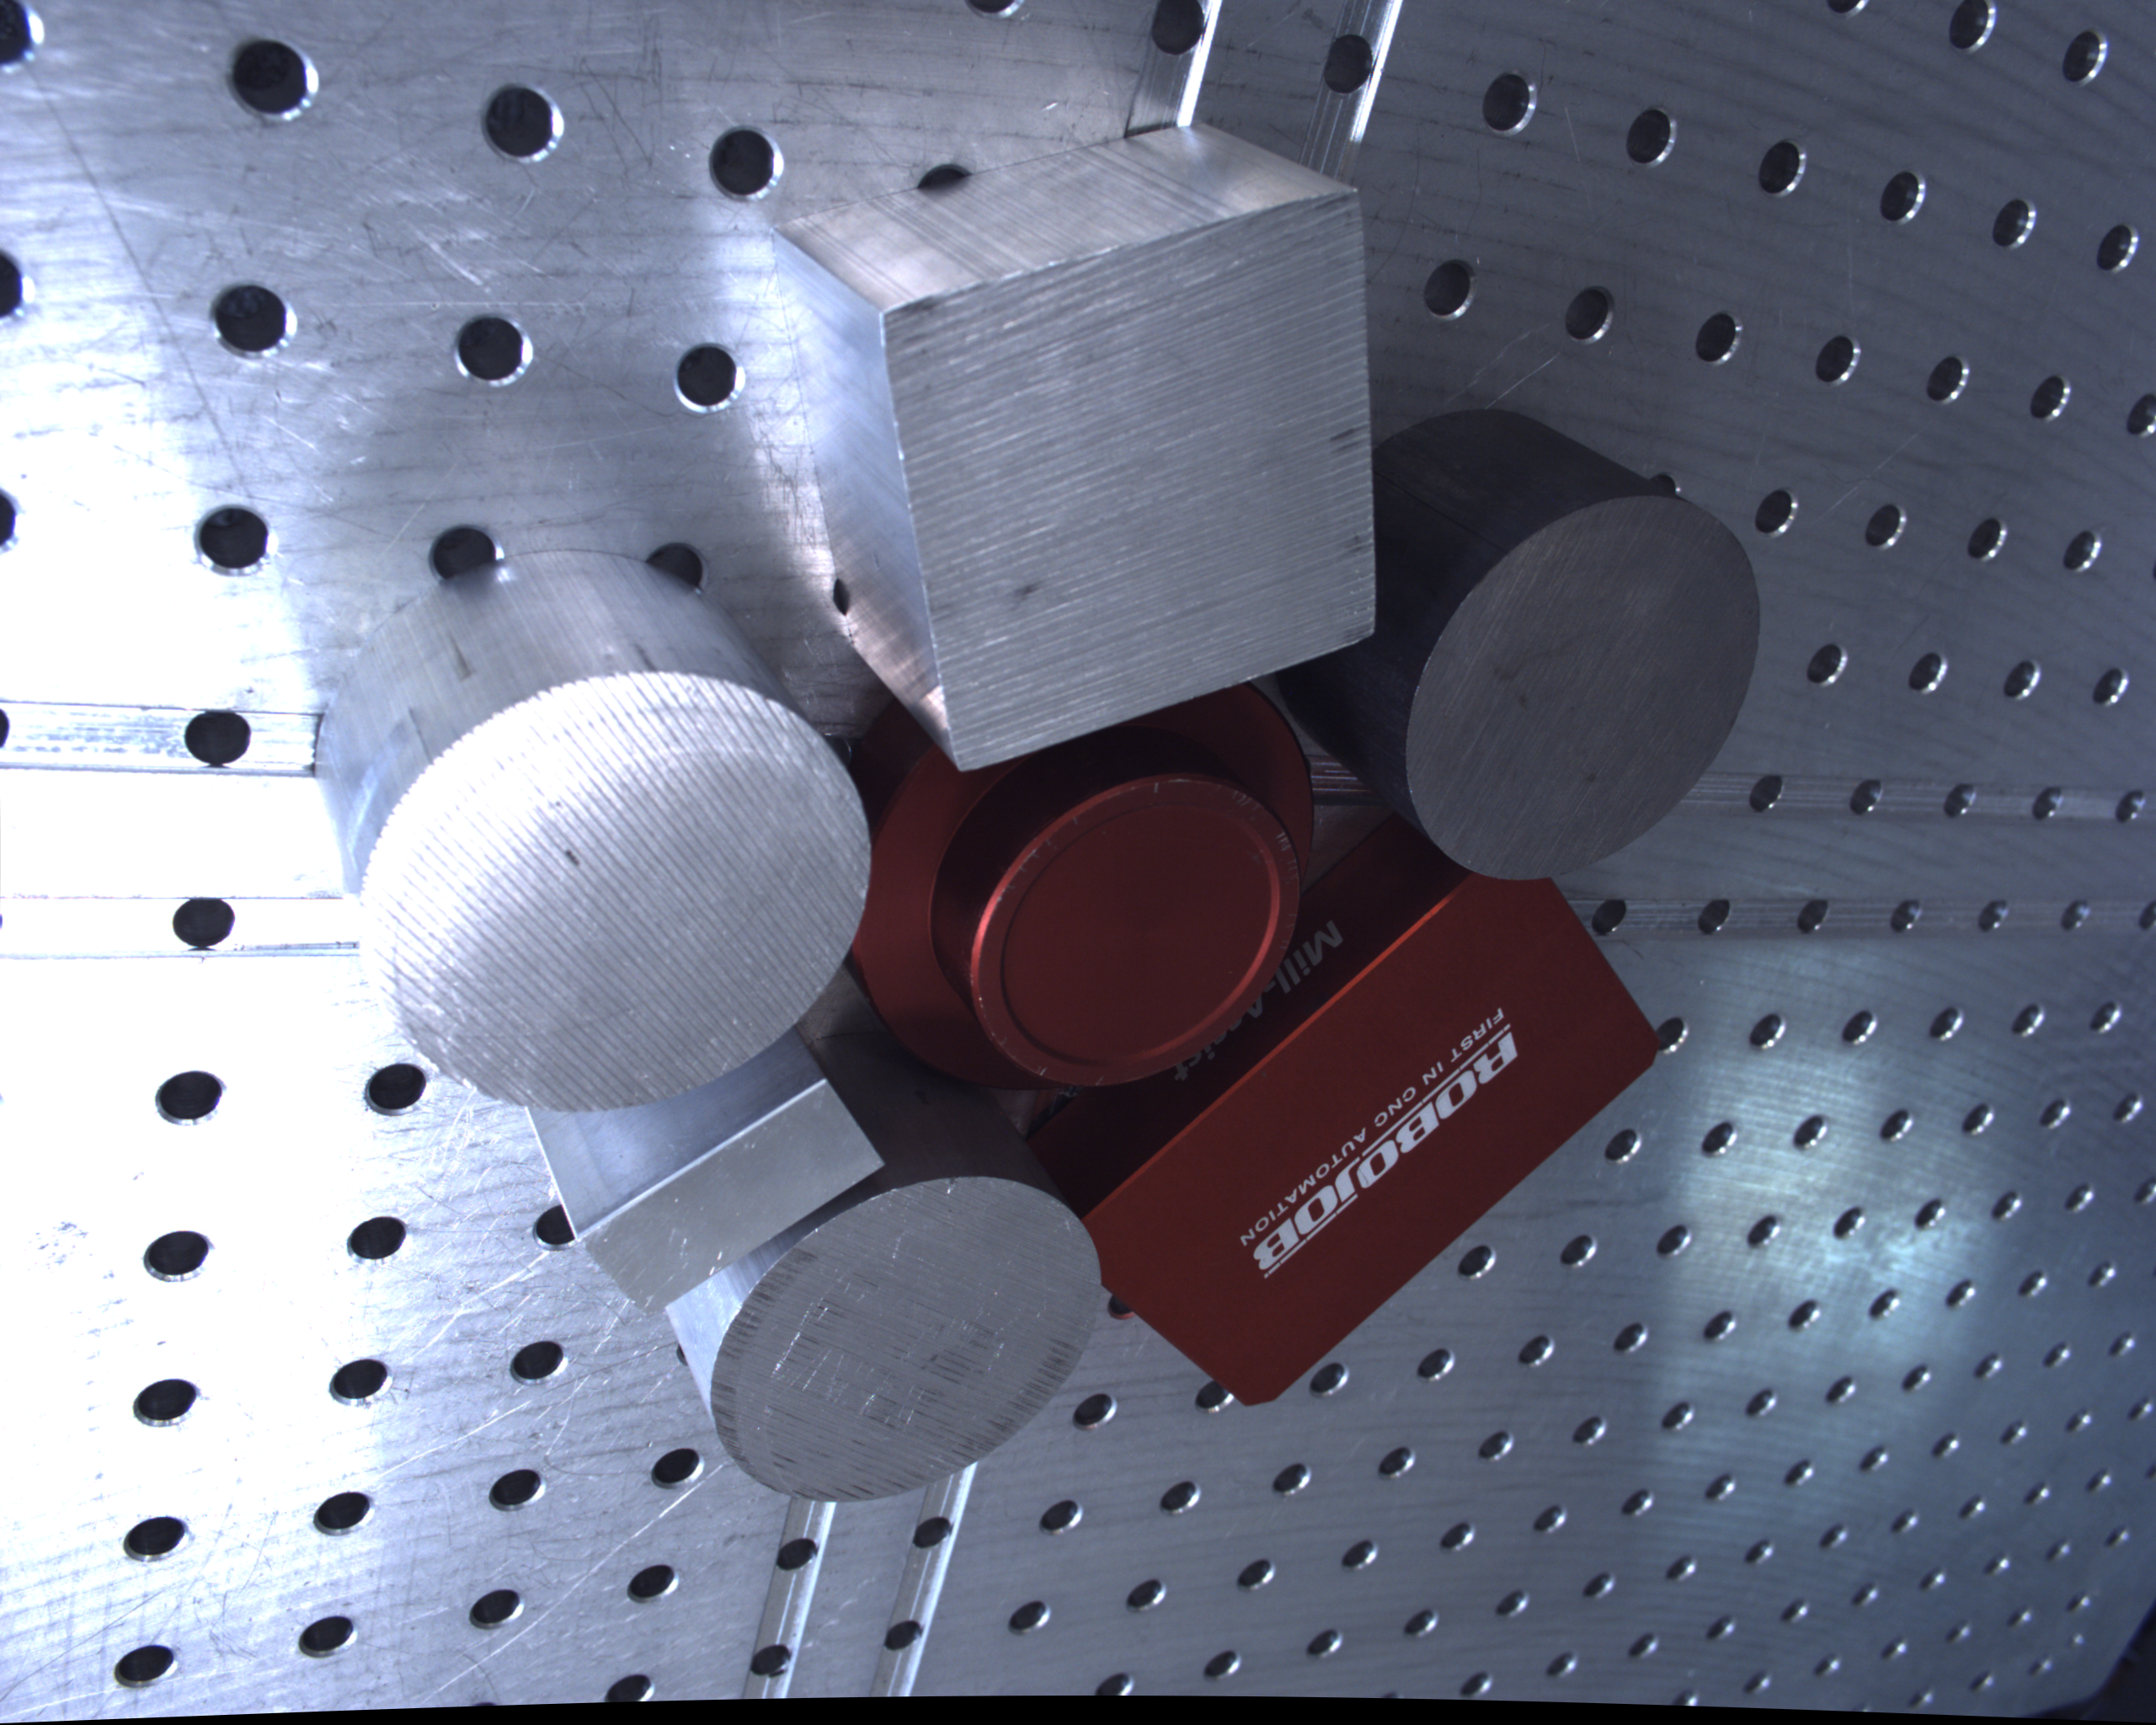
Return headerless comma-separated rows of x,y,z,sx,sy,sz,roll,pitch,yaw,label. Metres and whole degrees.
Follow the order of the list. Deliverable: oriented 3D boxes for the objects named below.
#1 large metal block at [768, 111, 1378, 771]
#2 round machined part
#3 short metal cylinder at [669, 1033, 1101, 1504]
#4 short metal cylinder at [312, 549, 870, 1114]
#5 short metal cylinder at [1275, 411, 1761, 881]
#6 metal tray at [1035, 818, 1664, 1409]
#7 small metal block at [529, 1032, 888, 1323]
0.001,-0.072,0.351,0.081,0.050,0.079,-20,126,-17,large metal block
0.003,0.004,0.404,0.099,0.042,0.097,-14,124,-21,round machined part
-0.042,0.081,0.421,0.081,0.050,0.079,-14,124,-21,short metal cylinder
-0.081,-0.005,0.346,0.081,0.050,0.079,-14,124,-21,short metal cylinder
0.086,-0.043,0.414,0.081,0.050,0.079,-14,124,-21,short metal cylinder
0.062,0.055,0.475,0.130,0.030,0.090,-42,129,0,metal tray
-0.070,0.048,0.385,0.050,0.050,0.025,-33,129,-7,small metal block
